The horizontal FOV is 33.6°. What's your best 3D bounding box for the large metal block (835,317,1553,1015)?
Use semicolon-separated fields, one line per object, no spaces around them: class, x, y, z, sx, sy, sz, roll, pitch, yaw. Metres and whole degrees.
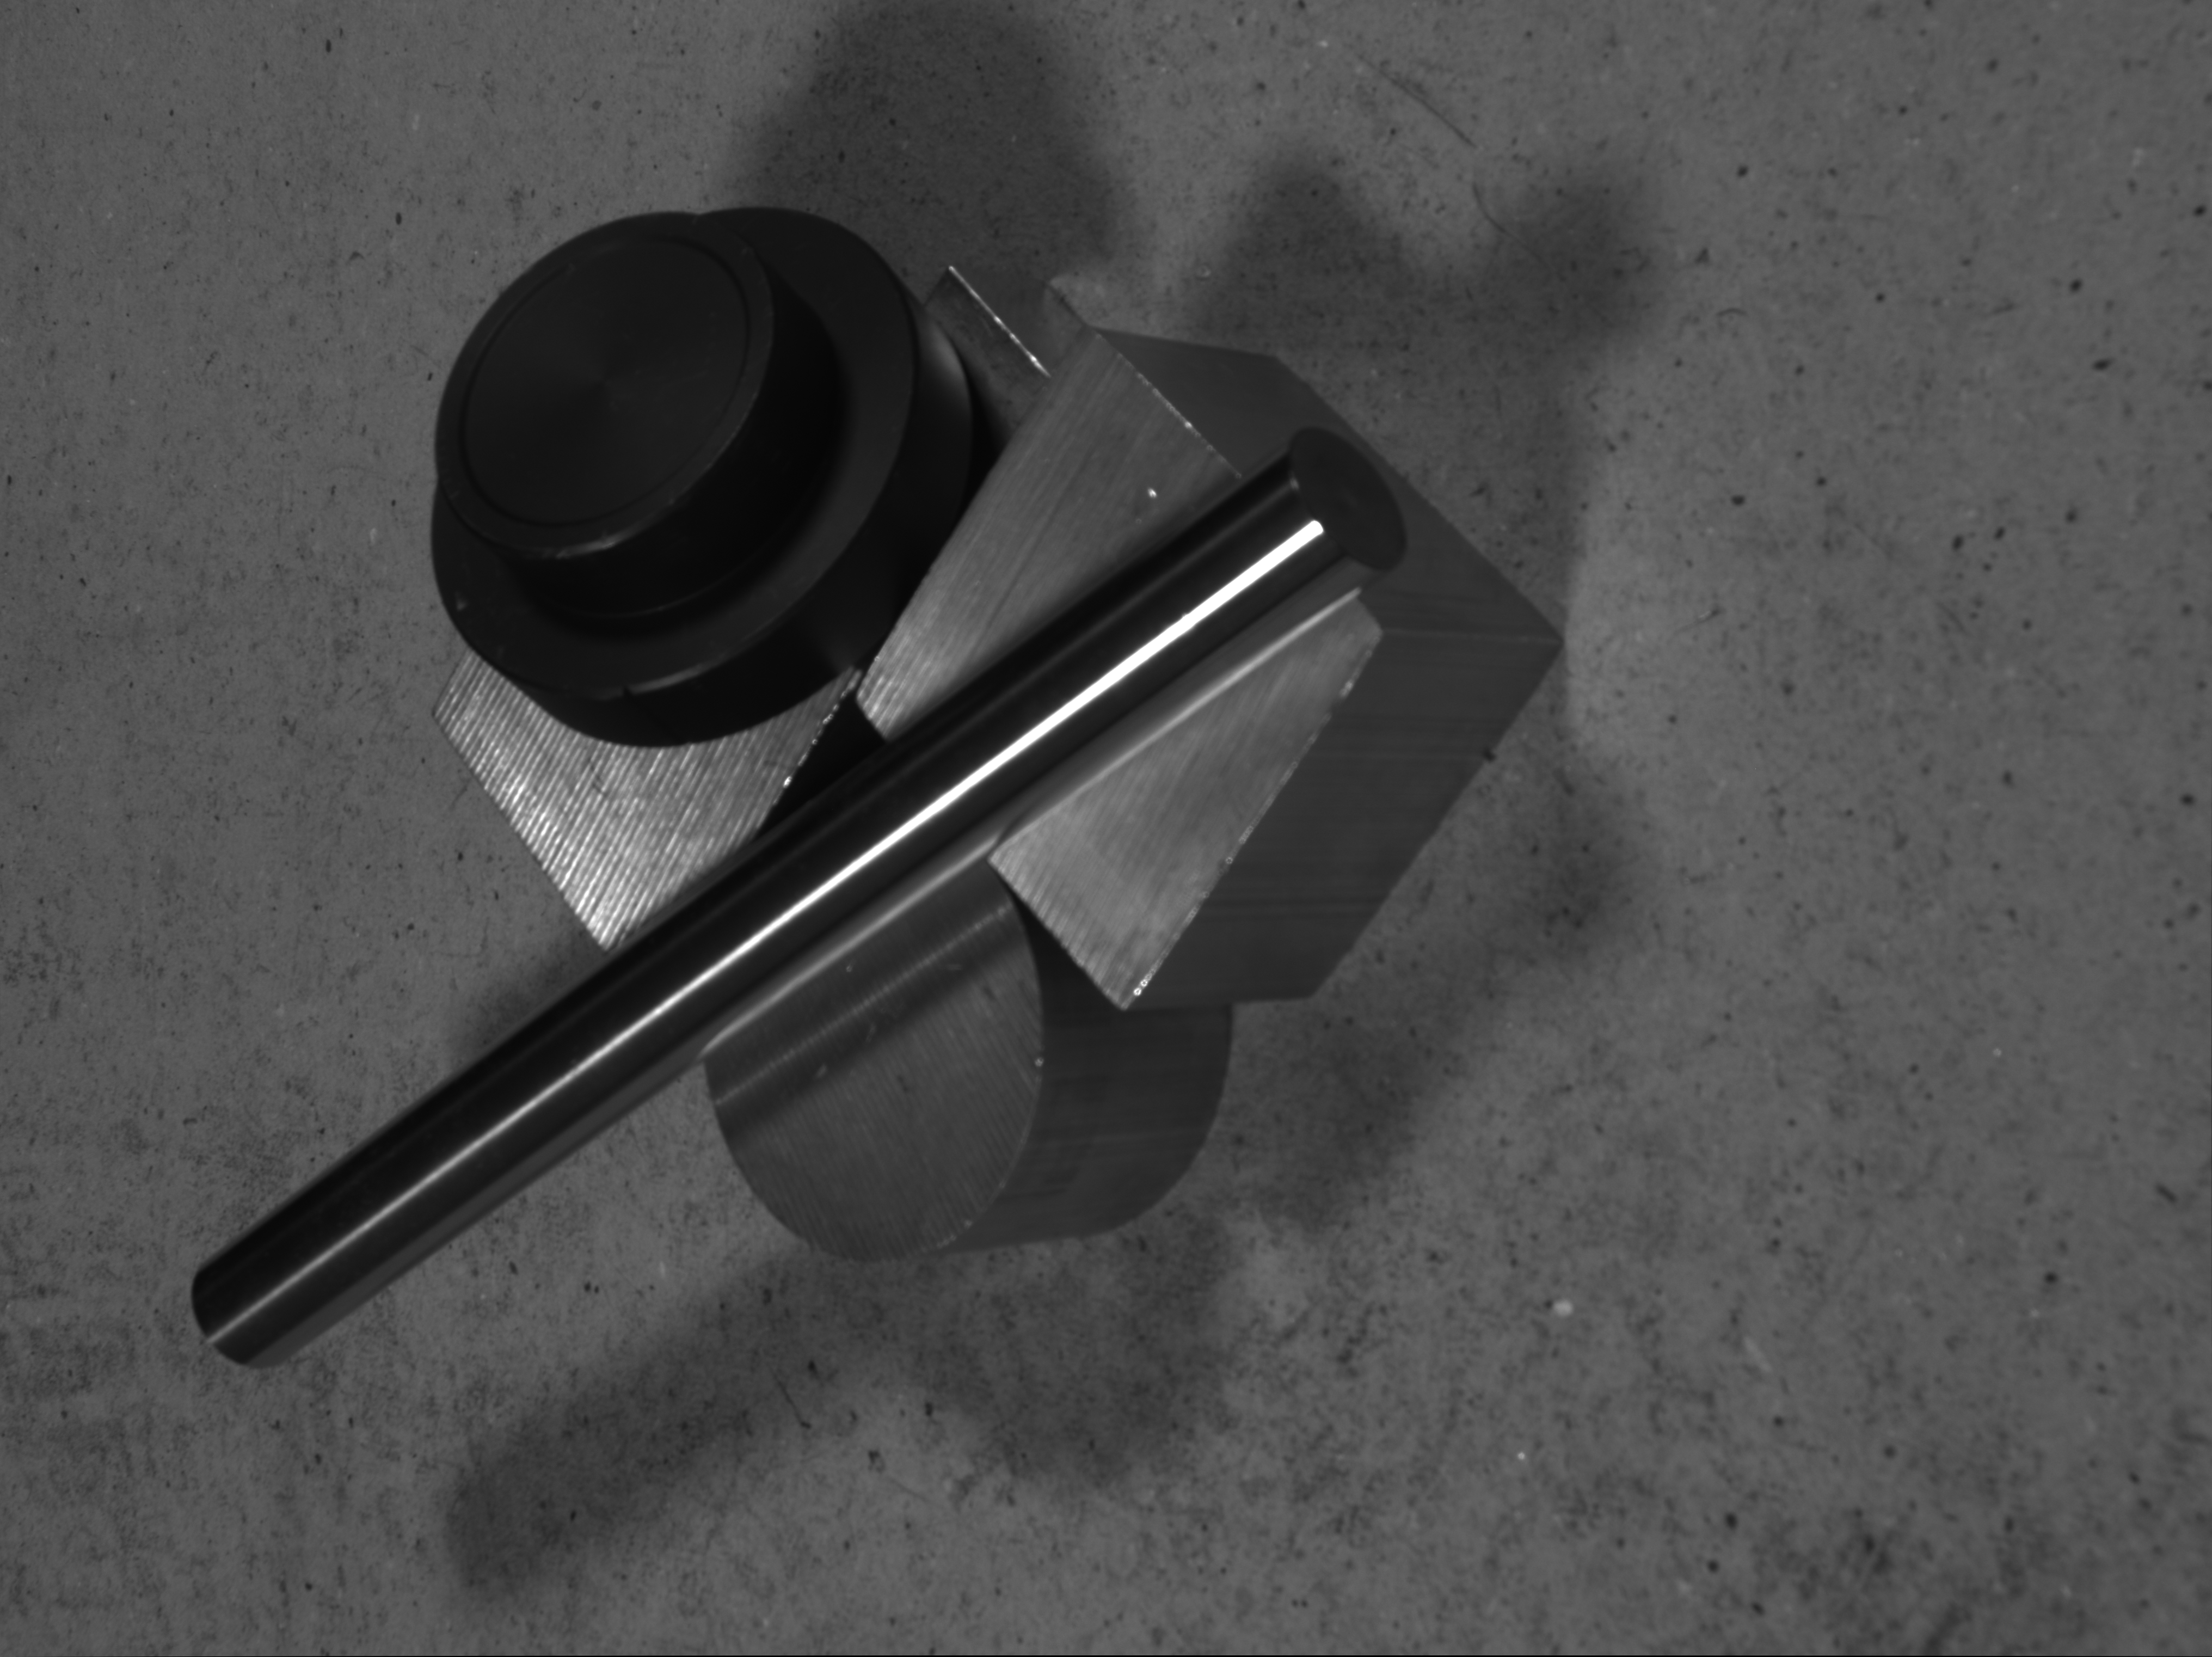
large metal block;0.013;-0.026;0.610;0.080;0.050;0.080;49;118;29

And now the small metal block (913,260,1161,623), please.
small metal block;-0.021;-0.065;0.653;0.050;0.025;0.050;50;119;28

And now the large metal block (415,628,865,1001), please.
large metal block;-0.071;-0.025;0.678;0.080;0.050;0.080;49;119;28

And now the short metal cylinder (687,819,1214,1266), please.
short metal cylinder;-0.028;0.034;0.642;0.080;0.050;0.080;0;90;39

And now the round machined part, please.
round machined part;-0.078;-0.067;0.633;0.098;0.042;0.098;-12;59;21

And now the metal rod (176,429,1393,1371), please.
metal rod;-0.068;0.023;0.627;0.299;0.025;0.025;-35;69;34
